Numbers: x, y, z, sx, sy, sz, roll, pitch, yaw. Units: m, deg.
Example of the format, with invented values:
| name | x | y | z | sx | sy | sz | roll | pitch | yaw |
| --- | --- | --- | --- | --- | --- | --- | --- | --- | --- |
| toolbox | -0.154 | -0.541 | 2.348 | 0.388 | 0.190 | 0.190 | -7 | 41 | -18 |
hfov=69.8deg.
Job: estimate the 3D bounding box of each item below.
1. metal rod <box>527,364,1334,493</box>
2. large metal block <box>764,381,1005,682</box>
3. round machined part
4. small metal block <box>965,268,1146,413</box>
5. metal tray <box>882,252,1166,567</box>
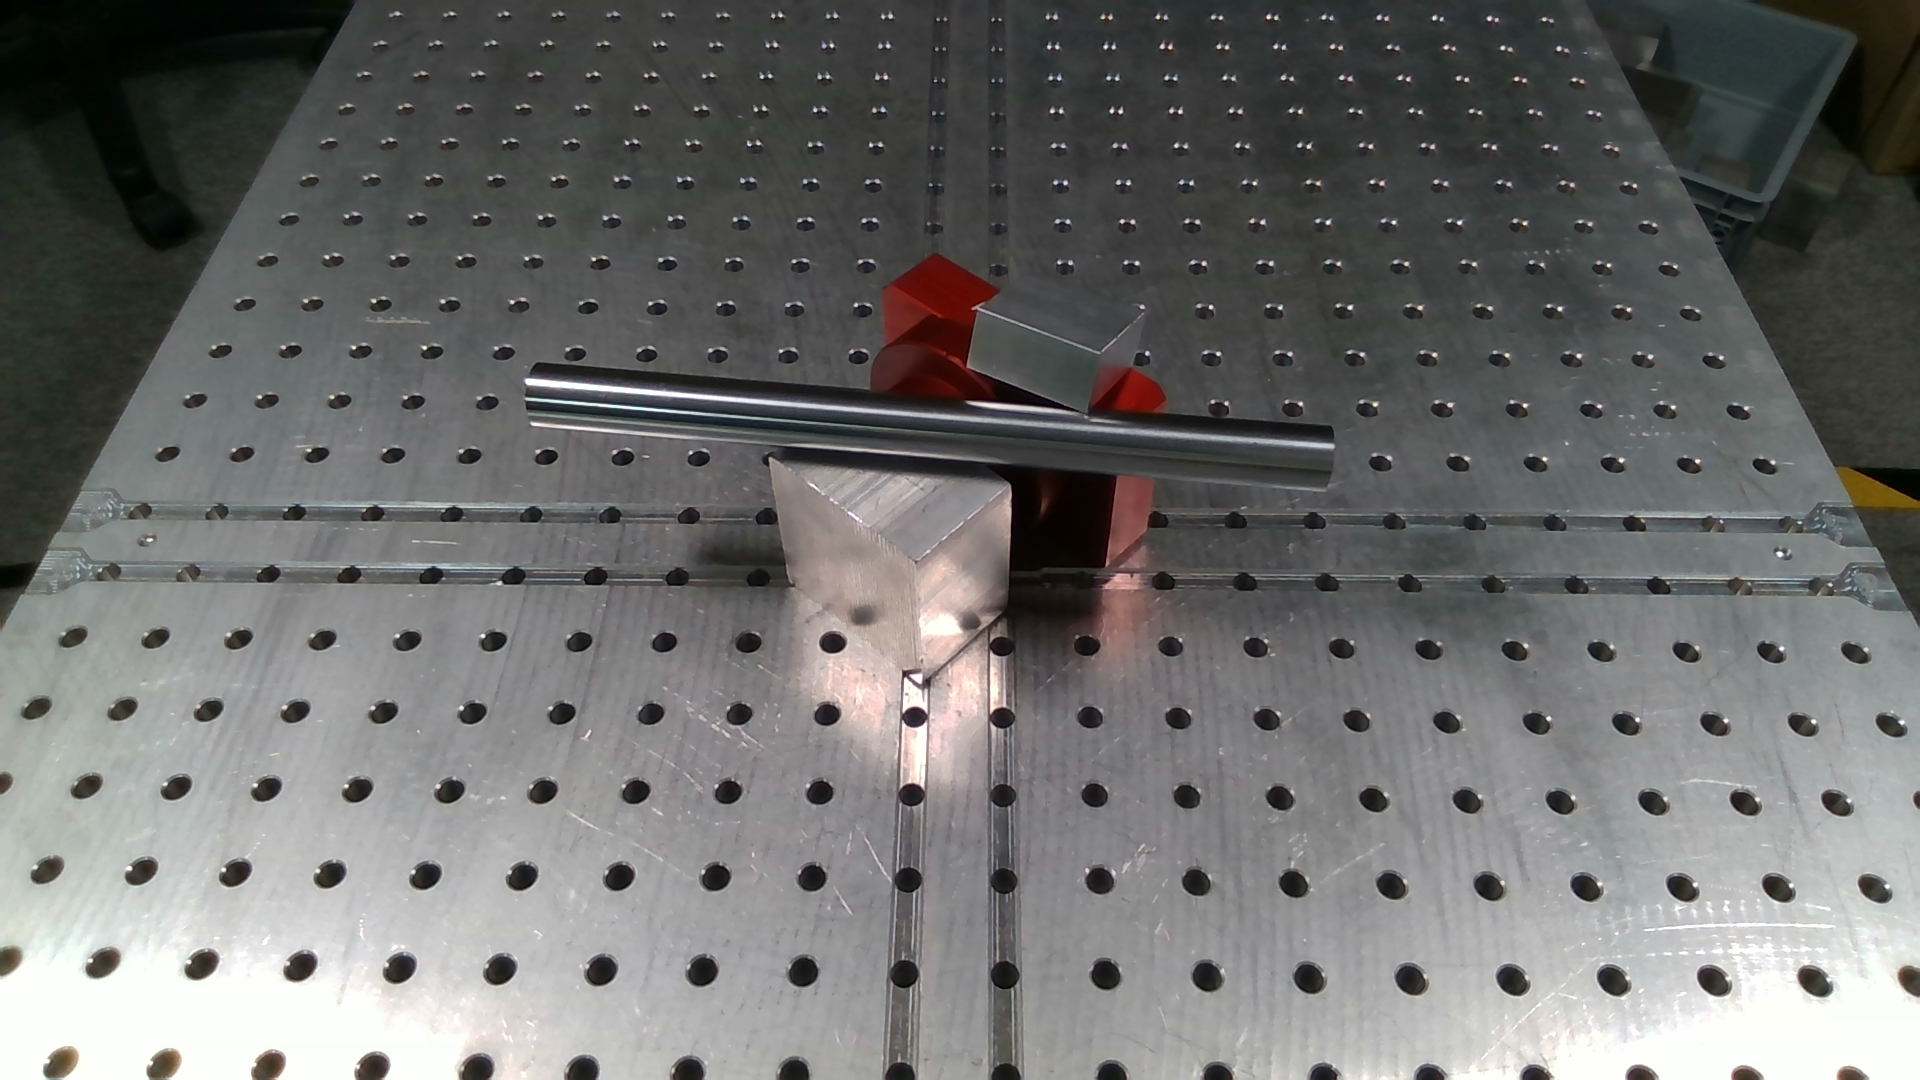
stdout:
| name | x | y | z | sx | sy | sz | roll | pitch | yaw |
| --- | --- | --- | --- | --- | --- | --- | --- | --- | --- |
| metal rod | -0.013 | -0.043 | 0.521 | 0.300 | 0.025 | 0.025 | 5 | 50 | 4 |
| large metal block | -0.029 | -0.003 | 0.553 | 0.080 | 0.080 | 0.050 | 35 | 58 | 26 |
| round machined part | -0.002 | -0.039 | 0.580 | 0.098 | 0.098 | 0.042 | 35 | 58 | 25 |
| small metal block | 0.037 | -0.077 | 0.527 | 0.050 | 0.025 | 0.050 | 23 | 35 | 16 |
| metal tray | 0.024 | -0.056 | 0.594 | 0.130 | 0.090 | 0.030 | 35 | 58 | 26 |
